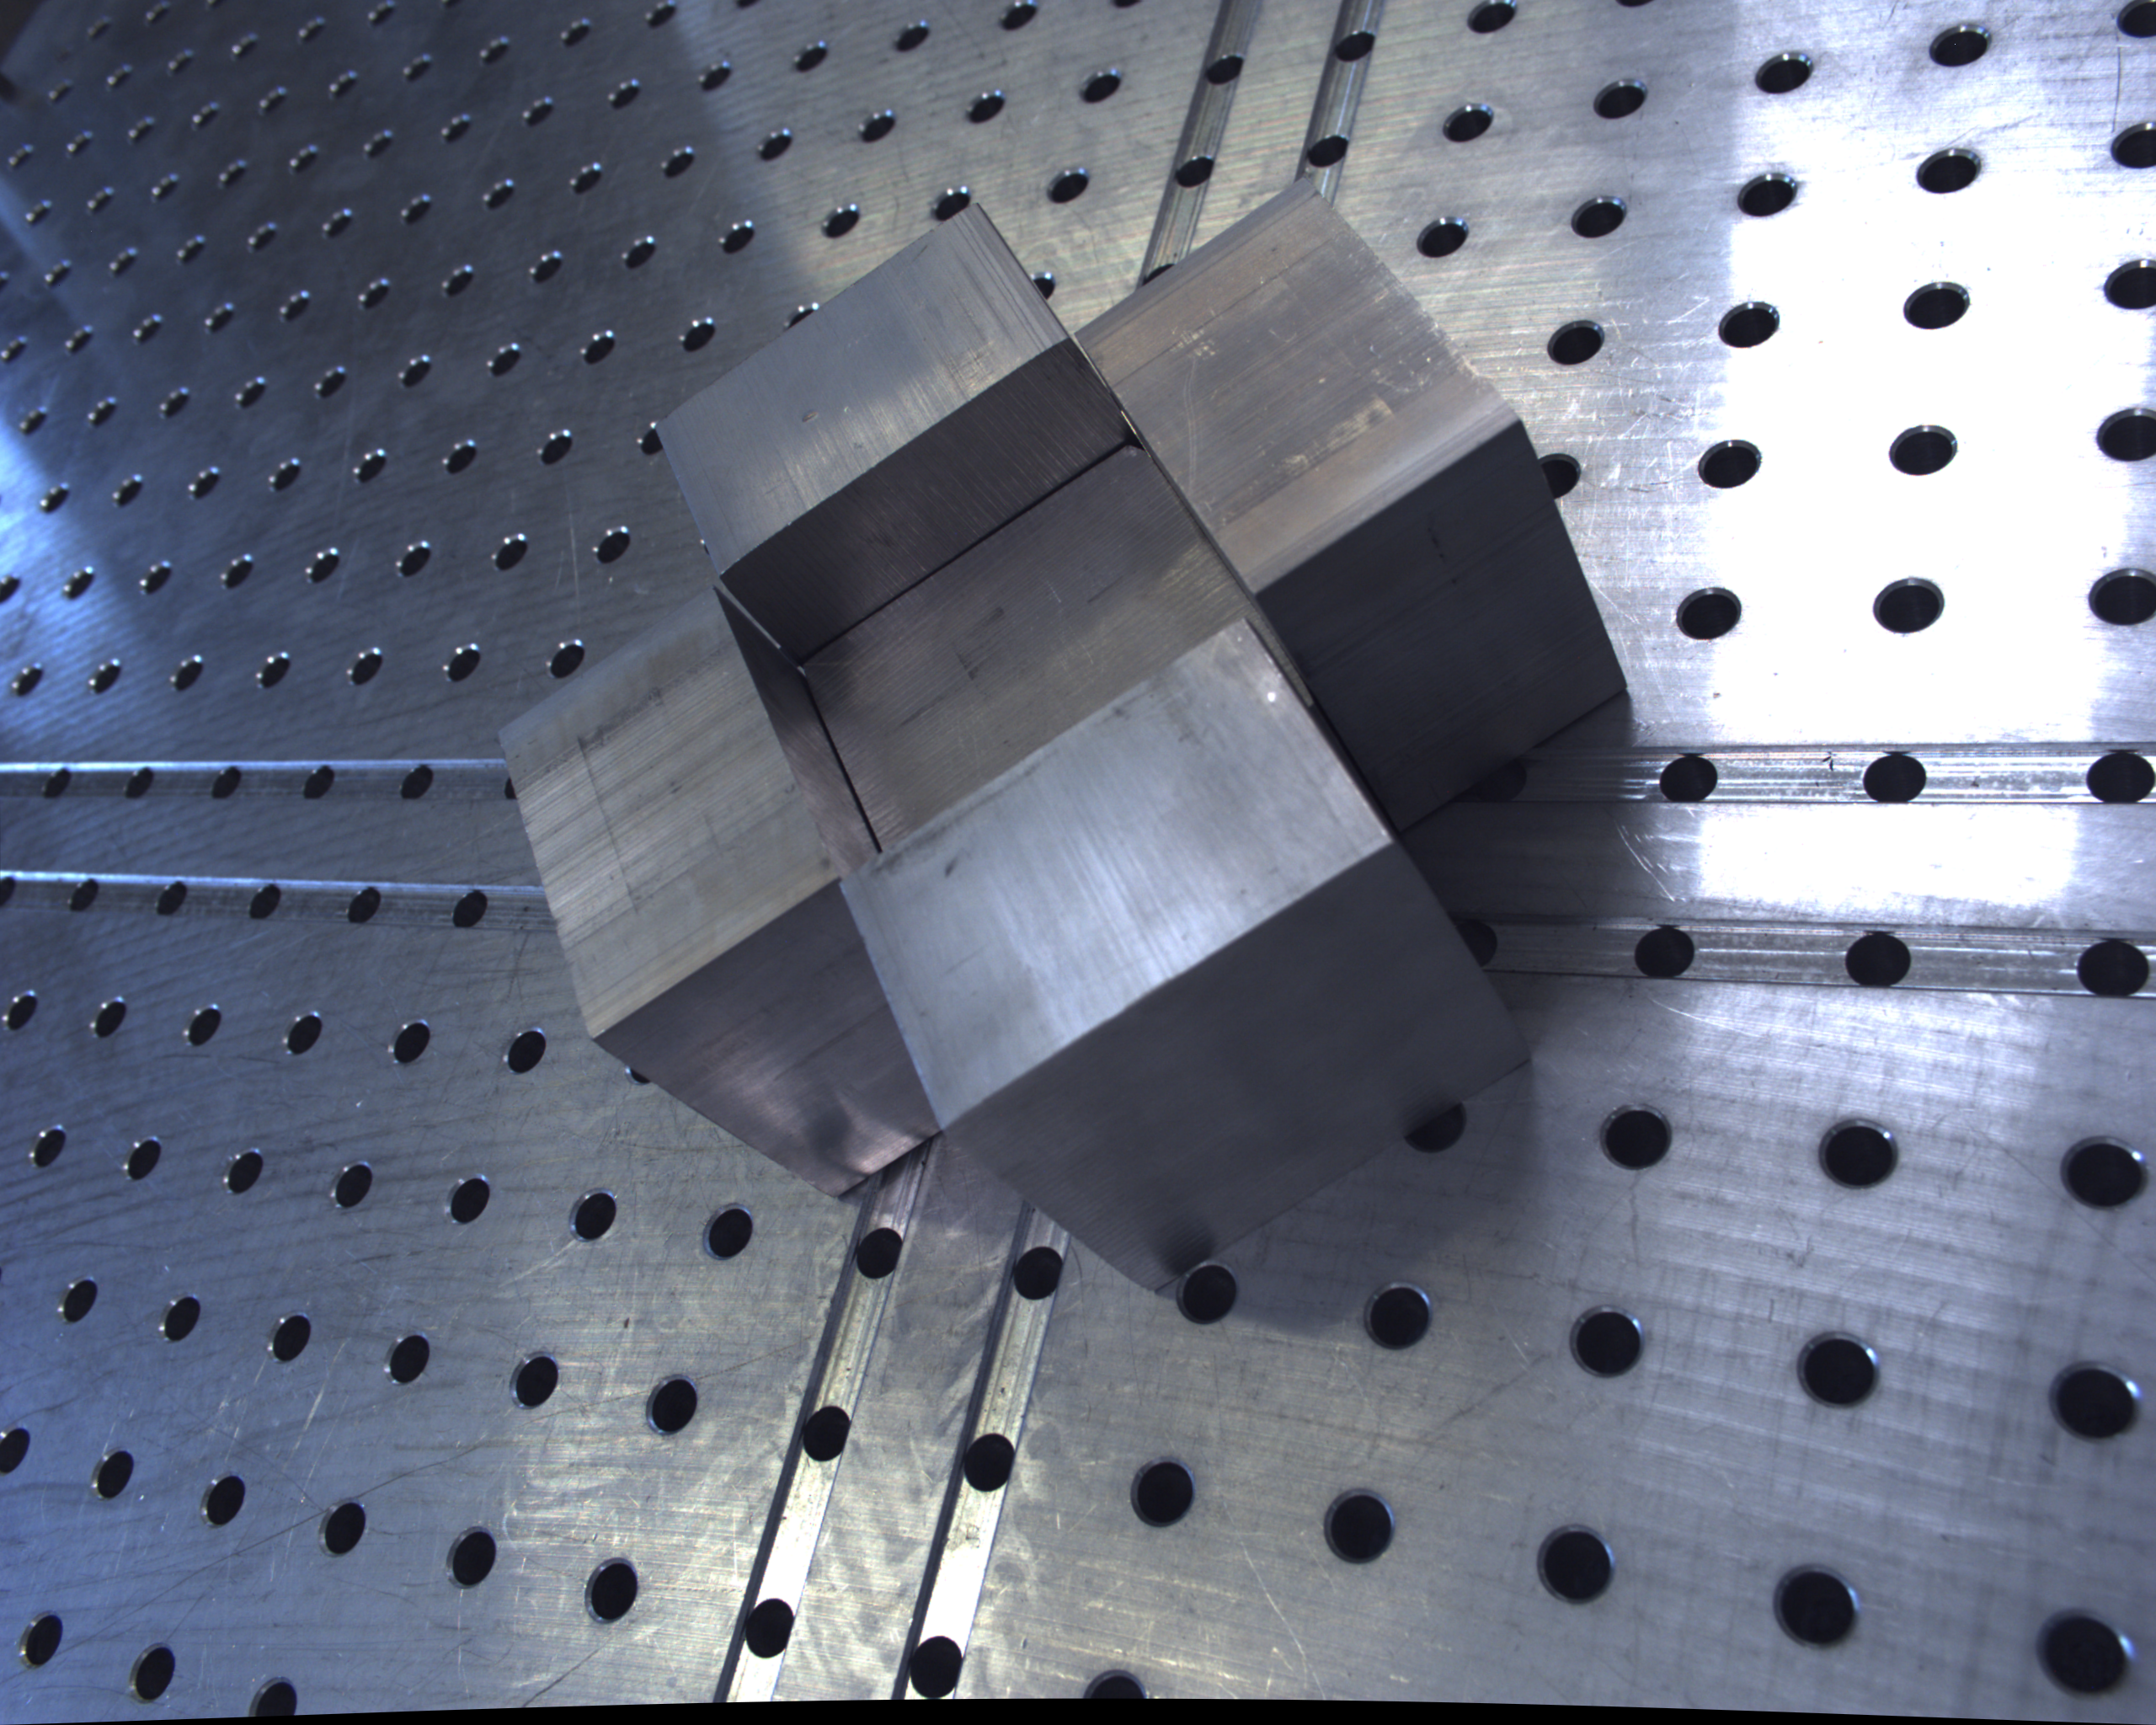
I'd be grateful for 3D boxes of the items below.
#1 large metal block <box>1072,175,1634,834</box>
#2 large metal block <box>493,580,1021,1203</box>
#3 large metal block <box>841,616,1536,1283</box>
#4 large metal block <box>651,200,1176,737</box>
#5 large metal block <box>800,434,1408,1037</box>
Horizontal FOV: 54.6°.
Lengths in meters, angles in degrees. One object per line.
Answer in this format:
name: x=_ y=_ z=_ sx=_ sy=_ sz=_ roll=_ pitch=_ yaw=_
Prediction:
large metal block: x=0.051 y=-0.064 z=0.386 sx=0.050 sy=0.080 sz=0.080 roll=-33 pitch=52 yaw=6
large metal block: x=-0.058 y=0.007 z=0.400 sx=0.050 sy=0.080 sz=0.080 roll=-34 pitch=52 yaw=6
large metal block: x=0.020 y=0.018 z=0.353 sx=0.080 sy=0.080 sz=0.050 roll=-32 pitch=52 yaw=7
large metal block: x=-0.027 y=-0.074 z=0.434 sx=0.080 sy=0.080 sz=0.050 roll=-34 pitch=51 yaw=6
large metal block: x=0.003 y=-0.022 z=0.403 sx=0.080 sy=0.050 sz=0.080 roll=-34 pitch=50 yaw=8
